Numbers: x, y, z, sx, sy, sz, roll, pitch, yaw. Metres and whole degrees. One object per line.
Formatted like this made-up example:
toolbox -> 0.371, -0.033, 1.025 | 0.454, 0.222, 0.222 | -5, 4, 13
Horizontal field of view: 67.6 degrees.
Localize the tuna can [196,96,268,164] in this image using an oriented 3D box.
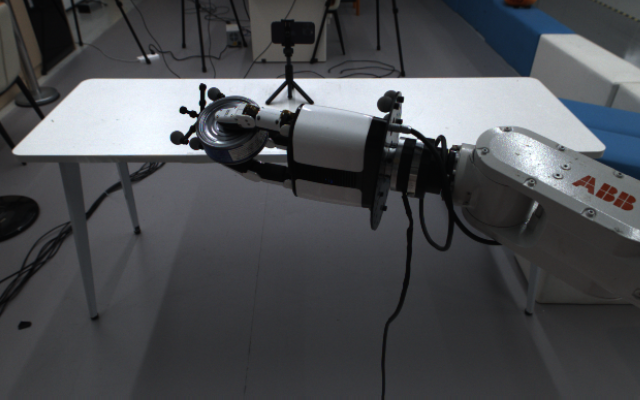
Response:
tuna can -> -0.108, -0.089, 0.602 | 0.085, 0.034, 0.085 | -3, 59, 6
